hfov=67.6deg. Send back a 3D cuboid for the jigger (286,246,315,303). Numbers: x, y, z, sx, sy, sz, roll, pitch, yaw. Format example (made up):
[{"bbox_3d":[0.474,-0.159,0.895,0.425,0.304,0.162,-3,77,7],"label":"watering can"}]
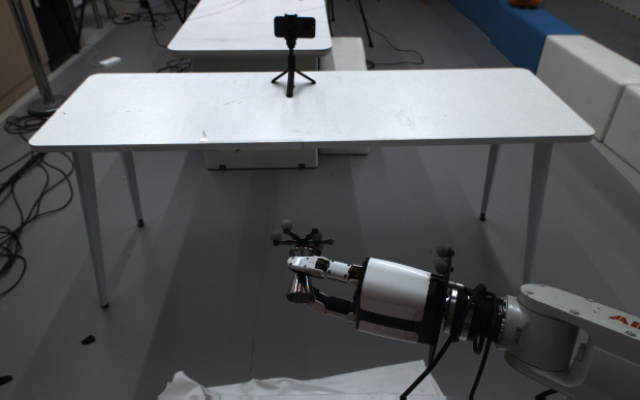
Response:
[{"bbox_3d":[-0.026,0.103,0.677,0.043,0.043,0.071,2,59,0],"label":"jigger"}]
